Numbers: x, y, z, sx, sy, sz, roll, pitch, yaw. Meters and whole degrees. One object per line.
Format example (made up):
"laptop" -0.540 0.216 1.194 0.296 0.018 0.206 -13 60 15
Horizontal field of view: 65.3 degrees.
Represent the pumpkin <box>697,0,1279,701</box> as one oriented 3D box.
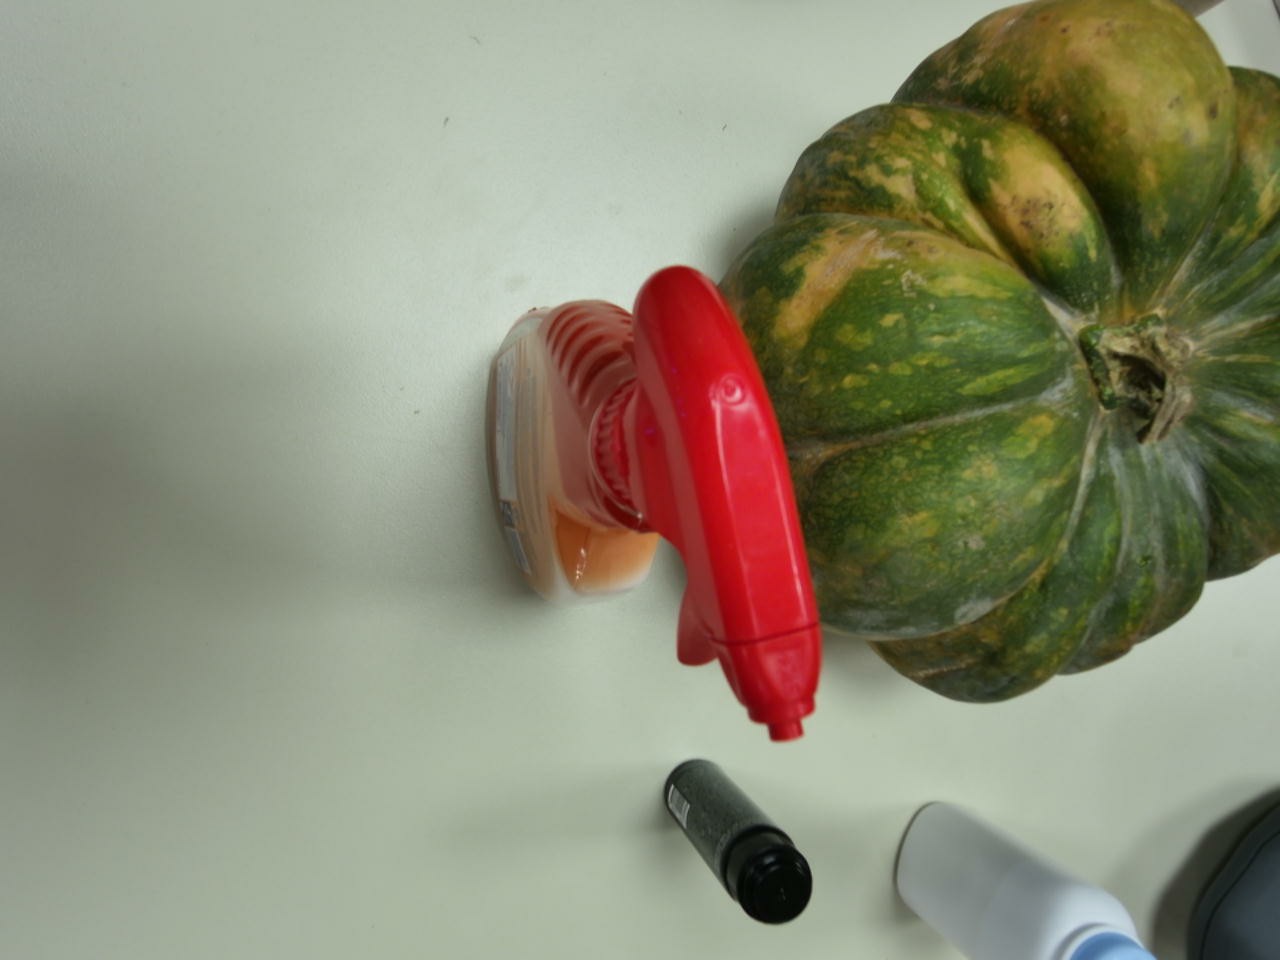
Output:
"pumpkin" 0.152 -0.043 0.381 0.270 0.173 0.237 -43 99 -8
